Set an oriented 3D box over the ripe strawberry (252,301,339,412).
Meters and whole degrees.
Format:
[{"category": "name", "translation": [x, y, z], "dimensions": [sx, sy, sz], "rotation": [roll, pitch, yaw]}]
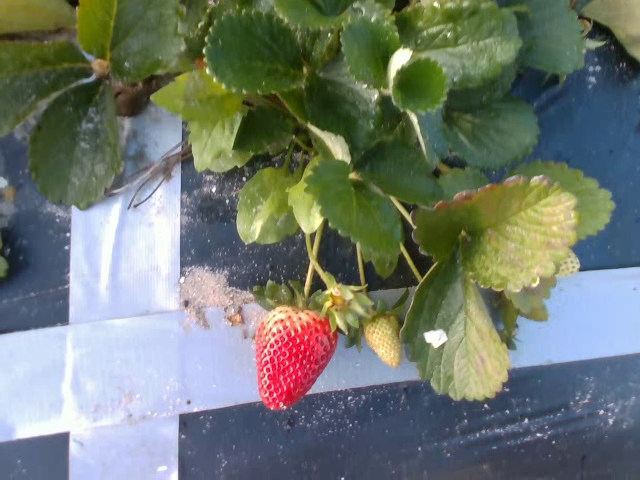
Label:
[{"category": "ripe strawberry", "translation": [-0.006, 0.028, 0.142], "dimensions": [0.023, 0.026, 0.021], "rotation": [10, -24, 15]}]
